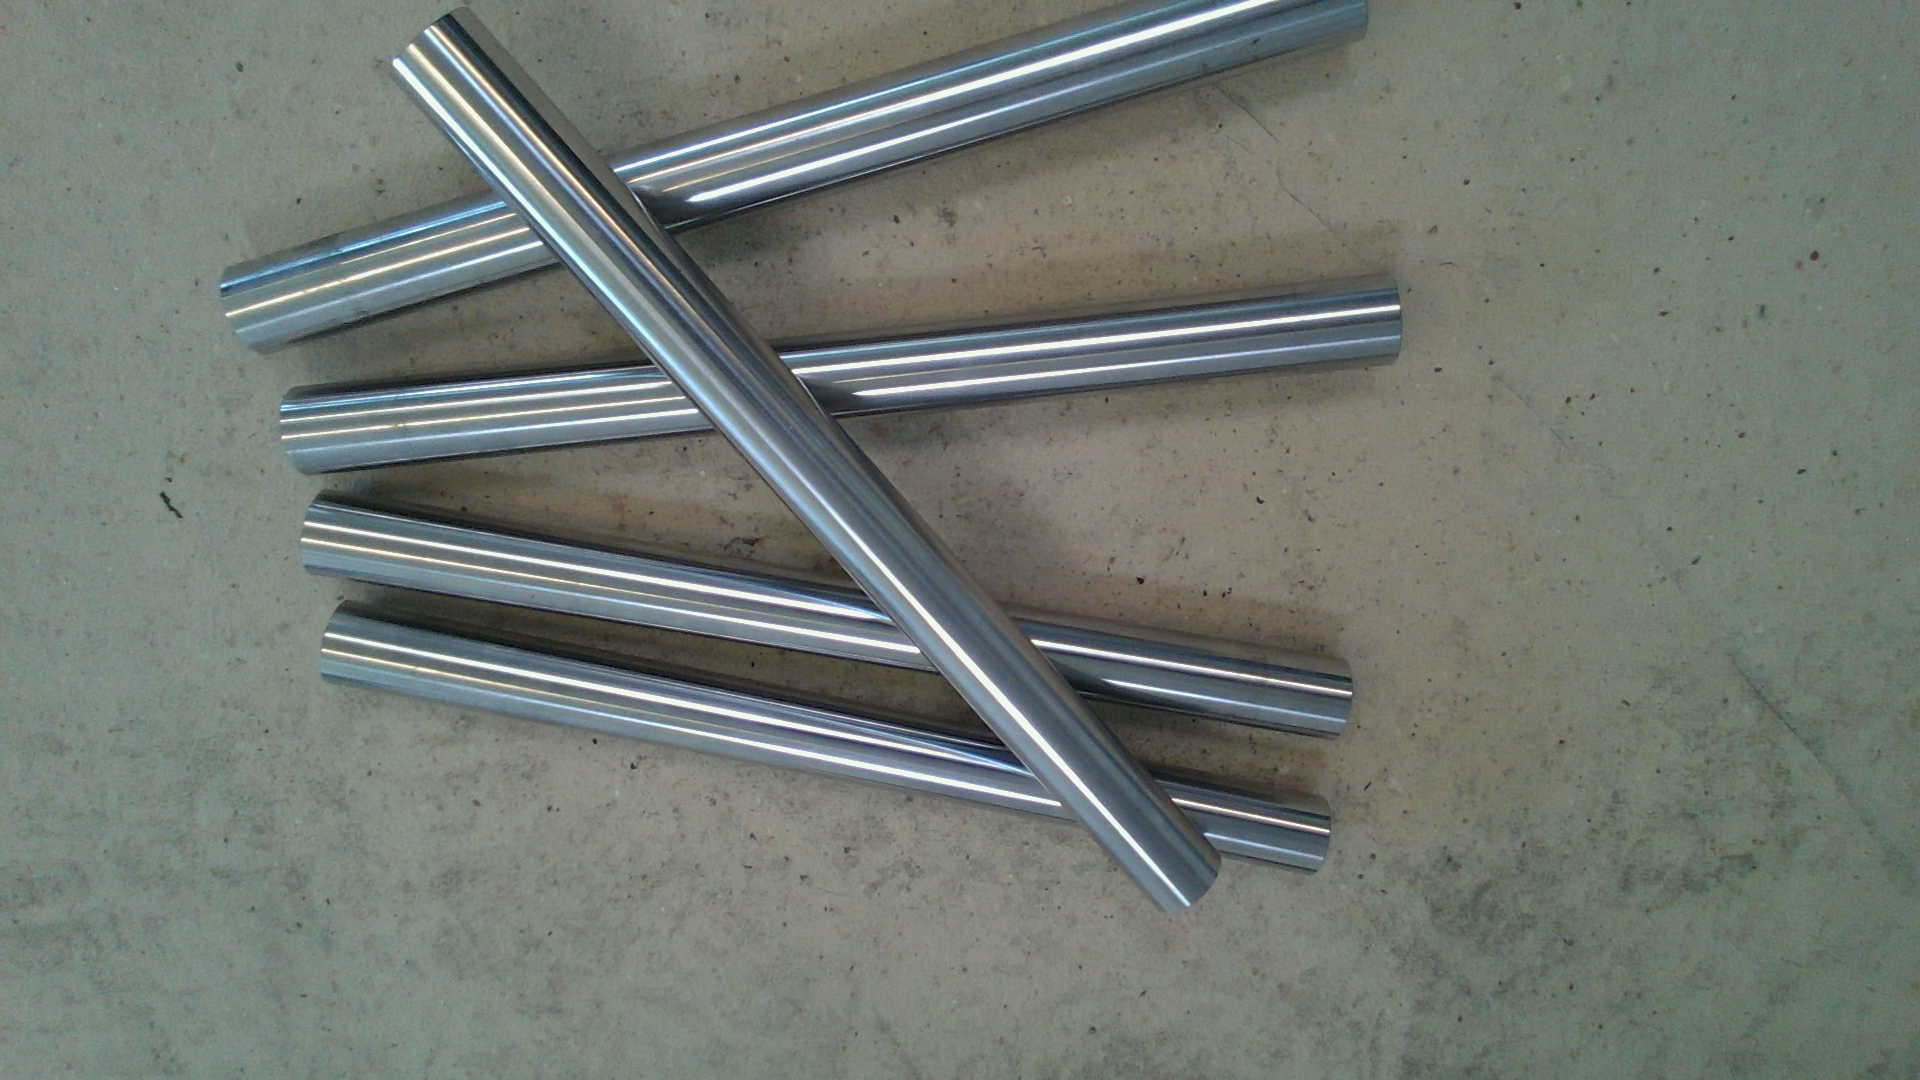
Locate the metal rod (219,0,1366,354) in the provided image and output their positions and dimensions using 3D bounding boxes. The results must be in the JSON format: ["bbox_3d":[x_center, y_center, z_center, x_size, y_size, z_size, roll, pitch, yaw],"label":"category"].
[{"bbox_3d":[-0.047,-0.100,0.358,0.300,0.025,0.025,-15,110,5],"label":"metal rod"}]

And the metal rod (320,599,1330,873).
[{"bbox_3d":[-0.036,0.060,0.416,0.300,0.025,0.025,12,110,-5],"label":"metal rod"}]

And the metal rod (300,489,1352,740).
[{"bbox_3d":[-0.035,0.023,0.402,0.300,0.025,0.025,10,110,-4],"label":"metal rod"}]

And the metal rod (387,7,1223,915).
[{"bbox_3d":[-0.029,-0.008,0.364,0.025,0.025,0.300,-38,106,13],"label":"metal rod"}]

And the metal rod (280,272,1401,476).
[{"bbox_3d":[-0.033,-0.045,0.378,0.300,0.025,0.025,-6,110,2],"label":"metal rod"}]
